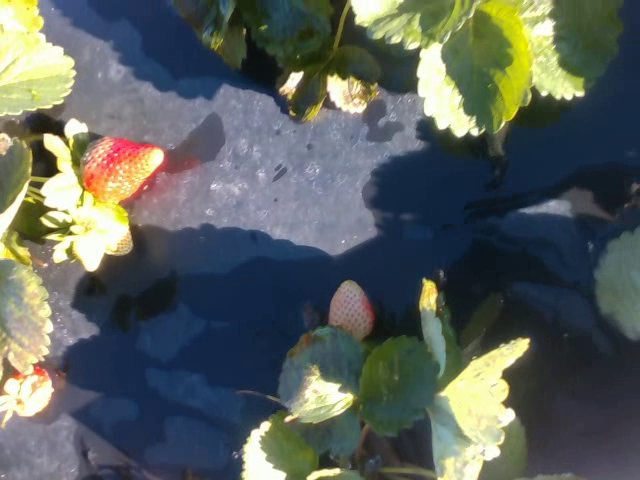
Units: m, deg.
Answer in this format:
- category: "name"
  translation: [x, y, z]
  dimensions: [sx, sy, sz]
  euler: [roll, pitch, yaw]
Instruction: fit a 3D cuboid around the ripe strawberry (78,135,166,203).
- category: "ripe strawberry"
  translation: [-0.123, -0.049, 0.394]
  dimensions: [0.064, 0.050, 0.052]
  euler: [-17, 34, 20]
